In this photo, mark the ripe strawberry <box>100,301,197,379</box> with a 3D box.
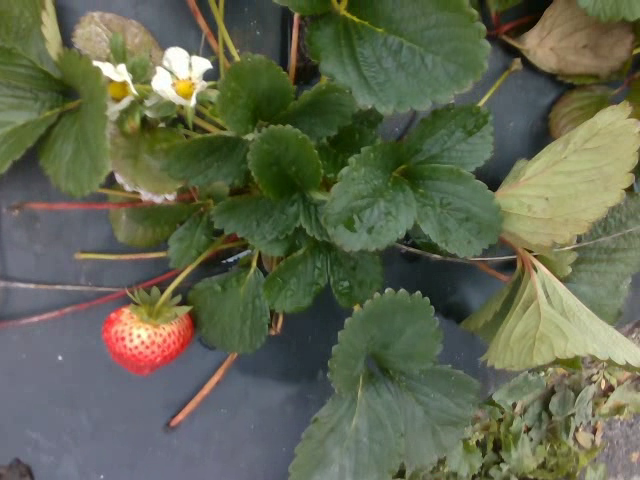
[{"bbox_3d":[-0.116,0.071,0.400,0.062,0.064,0.049,-6,43,-23],"label":"ripe strawberry"}]
